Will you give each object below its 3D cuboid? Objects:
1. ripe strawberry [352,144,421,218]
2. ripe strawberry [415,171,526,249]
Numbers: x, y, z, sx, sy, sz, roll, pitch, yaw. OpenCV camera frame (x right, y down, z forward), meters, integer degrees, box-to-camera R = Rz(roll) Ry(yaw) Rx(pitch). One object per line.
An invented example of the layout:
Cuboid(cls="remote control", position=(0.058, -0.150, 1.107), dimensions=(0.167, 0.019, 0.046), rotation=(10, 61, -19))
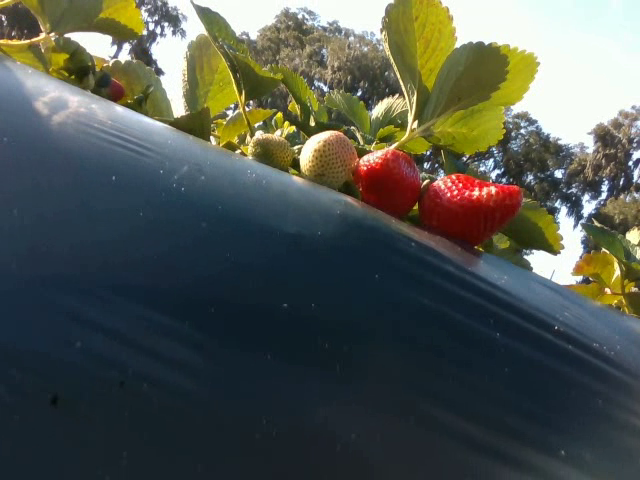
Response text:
Cuboid(cls="ripe strawberry", position=(0.038, -0.037, 0.332), dimensions=(0.050, 0.044, 0.061), rotation=(42, -7, 15))
Cuboid(cls="ripe strawberry", position=(0.089, -0.018, 0.333), dimensions=(0.056, 0.052, 0.067), rotation=(-11, -3, -41))
